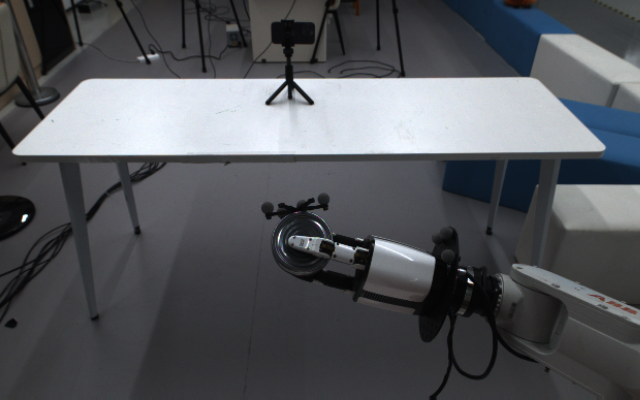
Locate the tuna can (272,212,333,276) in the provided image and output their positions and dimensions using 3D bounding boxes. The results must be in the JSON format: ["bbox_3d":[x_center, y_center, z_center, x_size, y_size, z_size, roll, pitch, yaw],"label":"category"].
[{"bbox_3d":[-0.020,0.065,0.659,0.085,0.034,0.085,0,72,-1],"label":"tuna can"}]
